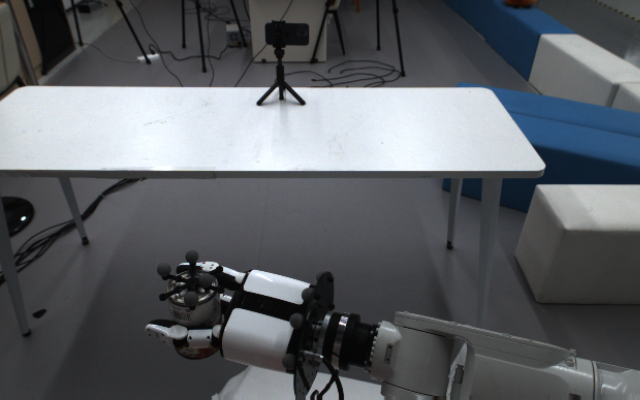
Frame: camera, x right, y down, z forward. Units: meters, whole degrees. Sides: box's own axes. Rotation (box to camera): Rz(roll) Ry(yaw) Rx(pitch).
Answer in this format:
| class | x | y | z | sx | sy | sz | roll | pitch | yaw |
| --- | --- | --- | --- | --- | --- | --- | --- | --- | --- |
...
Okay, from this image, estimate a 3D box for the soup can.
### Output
| class | x | y | z | sx | sy | sz | roll | pitch | yaw |
| --- | --- | --- | --- | --- | --- | --- | --- | --- | --- |
| soup can | -0.163 | 0.154 | 0.643 | 0.067 | 0.101 | 0.067 | 2 | 32 | -1 |
